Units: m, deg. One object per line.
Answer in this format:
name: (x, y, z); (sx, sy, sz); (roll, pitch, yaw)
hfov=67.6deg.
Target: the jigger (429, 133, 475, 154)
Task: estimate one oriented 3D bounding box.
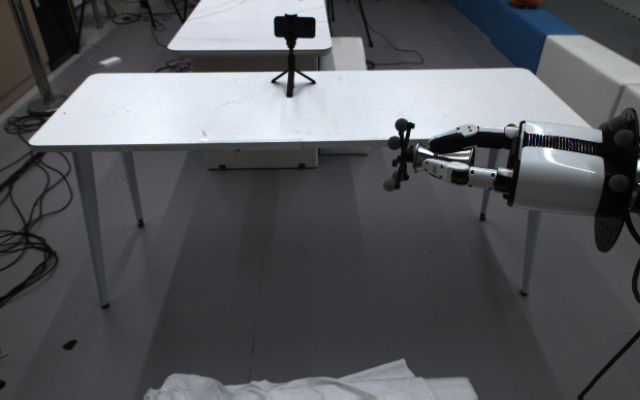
jigger: (0.156, -0.054, 0.600); (0.071, 0.043, 0.043); (9, 35, 22)
